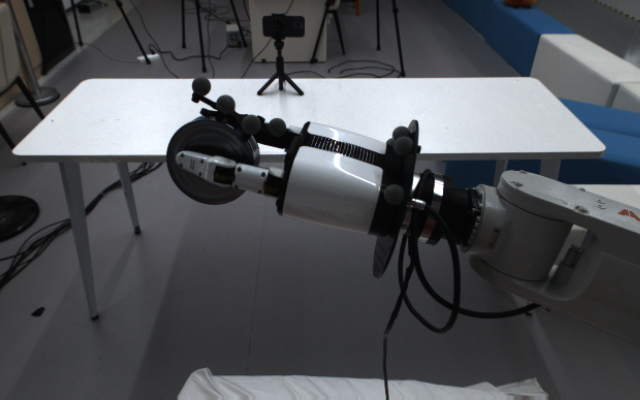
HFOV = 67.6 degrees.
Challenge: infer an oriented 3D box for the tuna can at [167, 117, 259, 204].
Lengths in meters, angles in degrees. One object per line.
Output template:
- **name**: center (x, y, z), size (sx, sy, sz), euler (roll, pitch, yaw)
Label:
- **tuna can**: center (-0.103, -0.042, 0.479), size (0.085, 0.085, 0.034), euler (4, 20, 3)
